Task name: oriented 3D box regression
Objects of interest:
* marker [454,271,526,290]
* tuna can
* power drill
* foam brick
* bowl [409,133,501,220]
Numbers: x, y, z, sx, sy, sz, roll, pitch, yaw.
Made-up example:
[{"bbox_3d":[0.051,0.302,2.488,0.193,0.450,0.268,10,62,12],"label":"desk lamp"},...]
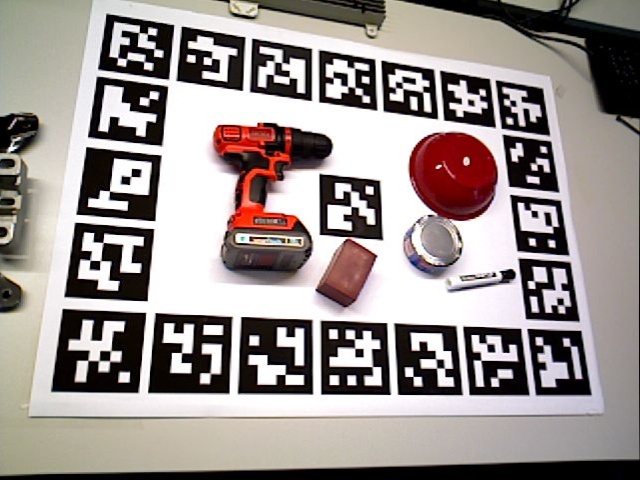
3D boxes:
[{"bbox_3d":[0.262,0.061,0.829,0.119,0.020,0.019,-5,75,-17],"label":"marker"},{"bbox_3d":[0.182,0.003,0.819,0.085,0.034,0.085,5,71,-16],"label":"tuna can"},{"bbox_3d":[-0.066,-0.068,0.765,0.182,0.058,0.185,4,69,-18],"label":"power drill"},{"bbox_3d":[0.045,0.049,0.763,0.051,0.054,0.077,28,68,-7],"label":"foam brick"},{"bbox_3d":[0.227,-0.116,0.870,0.160,0.056,0.160,5,64,-11],"label":"bowl"}]
